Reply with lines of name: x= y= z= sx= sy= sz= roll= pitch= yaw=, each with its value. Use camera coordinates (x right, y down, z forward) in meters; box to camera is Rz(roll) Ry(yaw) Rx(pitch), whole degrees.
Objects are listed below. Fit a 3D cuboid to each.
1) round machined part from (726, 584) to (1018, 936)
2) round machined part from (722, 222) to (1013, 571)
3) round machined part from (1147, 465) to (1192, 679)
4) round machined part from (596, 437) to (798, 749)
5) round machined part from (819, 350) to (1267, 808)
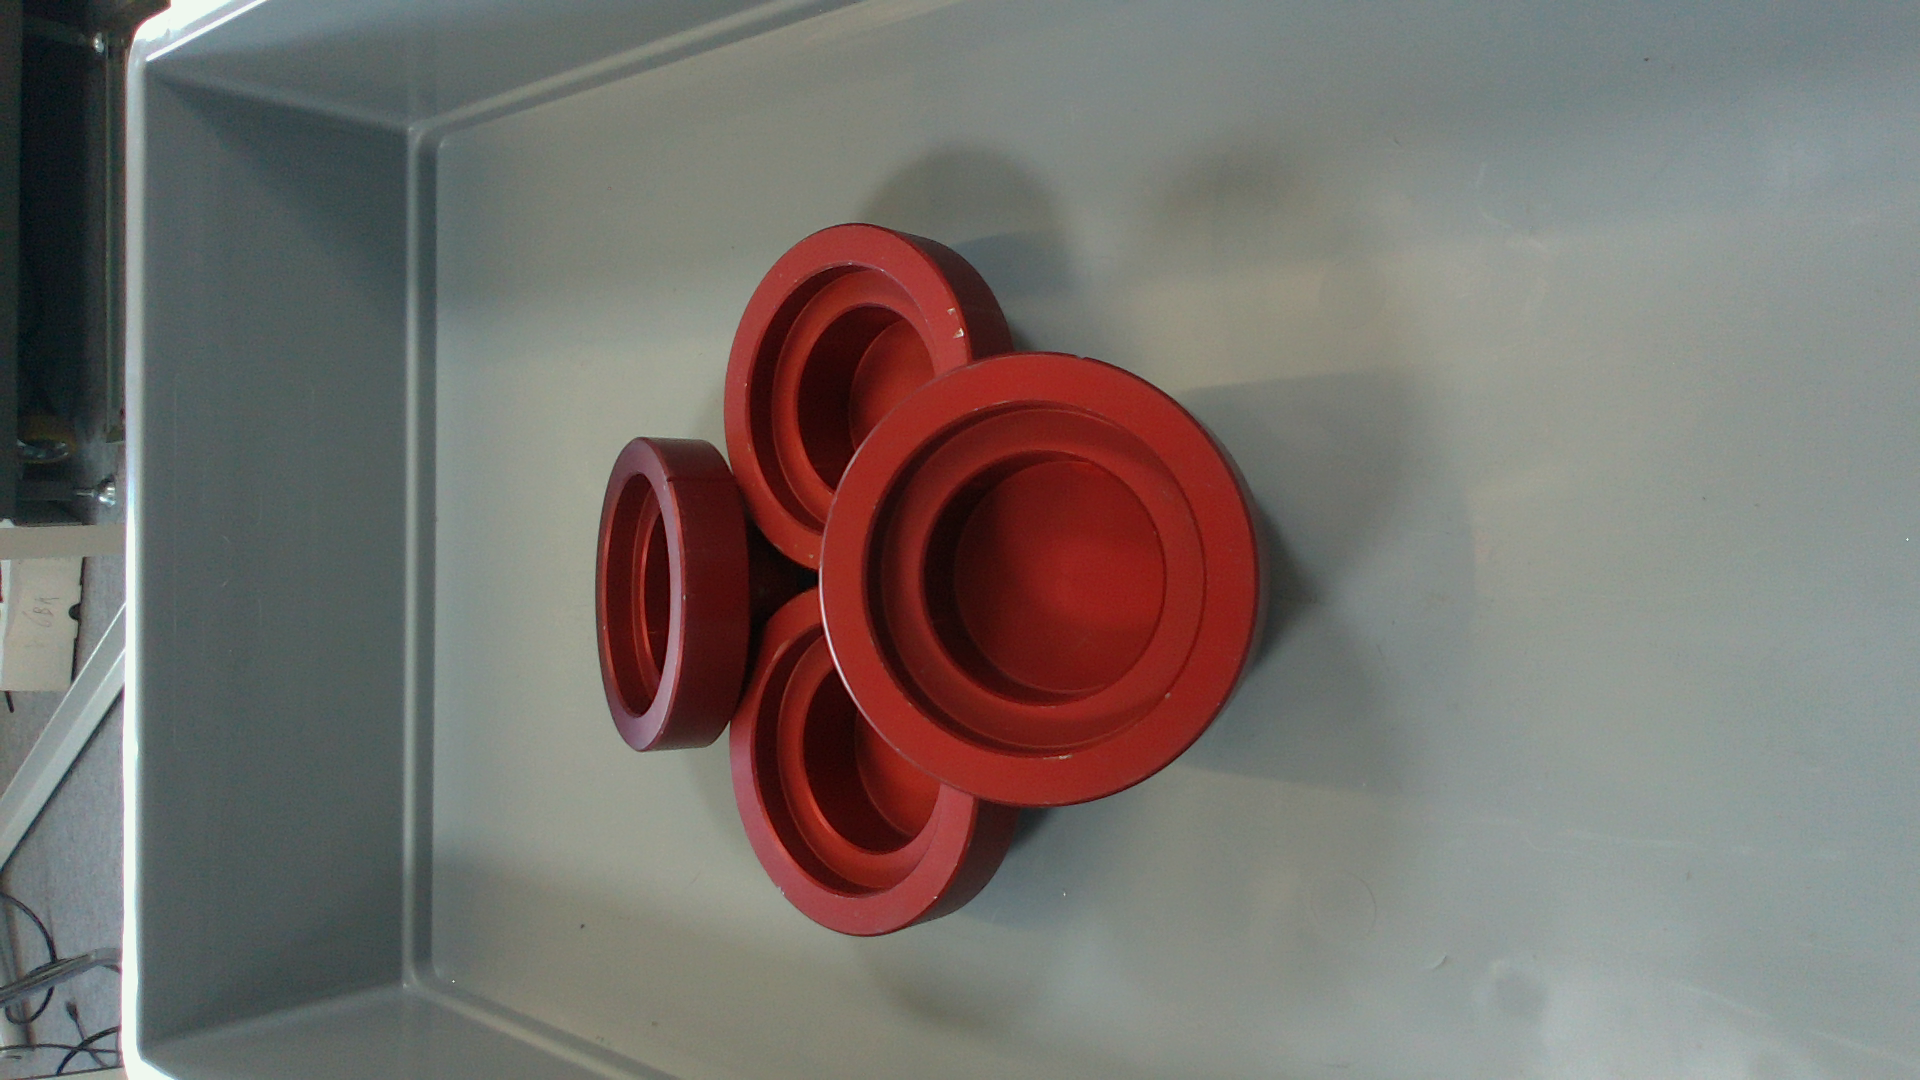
round machined part: x=-0.020 y=0.060 z=0.398 sx=0.098 sy=0.042 sz=0.098 roll=0 pitch=90 yaw=40
round machined part: x=-0.022 y=-0.039 z=0.399 sx=0.098 sy=0.042 sz=0.098 roll=0 pitch=90 yaw=40
round machined part: x=0.028 y=0.009 z=0.345 sx=0.098 sy=0.042 sz=0.098 roll=0 pitch=89 yaw=18
round machined part: x=-0.084 y=0.017 z=0.439 sx=0.098 sy=0.042 sz=0.098 roll=-1 pitch=88 yaw=61
round machined part: x=0.021 y=0.008 z=0.313 sx=0.098 sy=0.042 sz=0.098 roll=0 pitch=90 yaw=18
